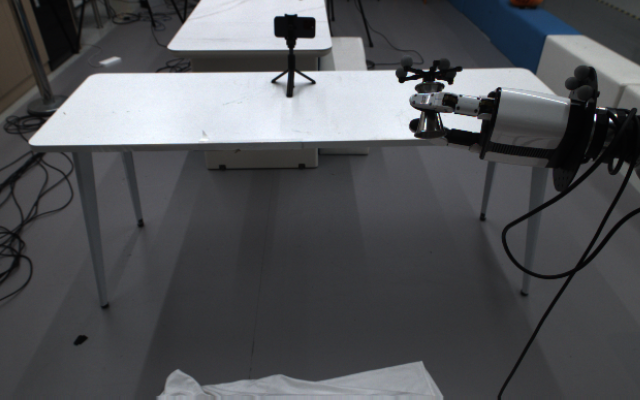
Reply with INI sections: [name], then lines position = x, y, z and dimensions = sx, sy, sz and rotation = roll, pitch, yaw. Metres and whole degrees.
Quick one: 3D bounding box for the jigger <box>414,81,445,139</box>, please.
[jigger]
position = 0.148, -0.122, 0.661
dimensions = 0.043, 0.071, 0.043
rotation = 1, -5, 0
